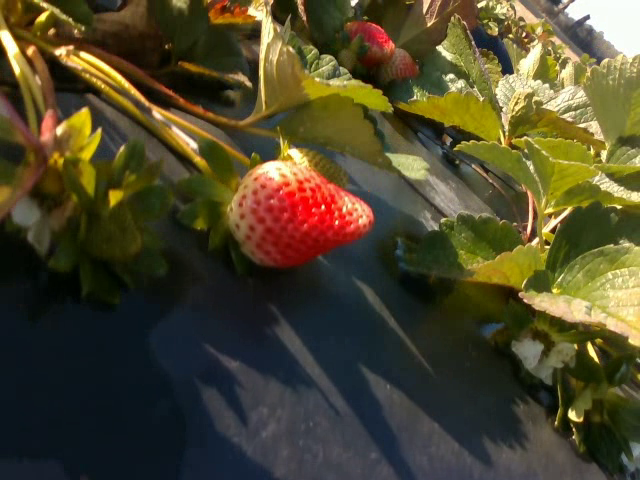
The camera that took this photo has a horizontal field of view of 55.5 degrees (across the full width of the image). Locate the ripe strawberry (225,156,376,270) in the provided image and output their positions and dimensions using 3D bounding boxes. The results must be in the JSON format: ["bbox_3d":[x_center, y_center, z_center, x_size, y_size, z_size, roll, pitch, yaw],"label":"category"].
[{"bbox_3d":[-0.004,-0.006,0.161,0.045,0.037,0.042,-2,-9,26],"label":"ripe strawberry"}]
